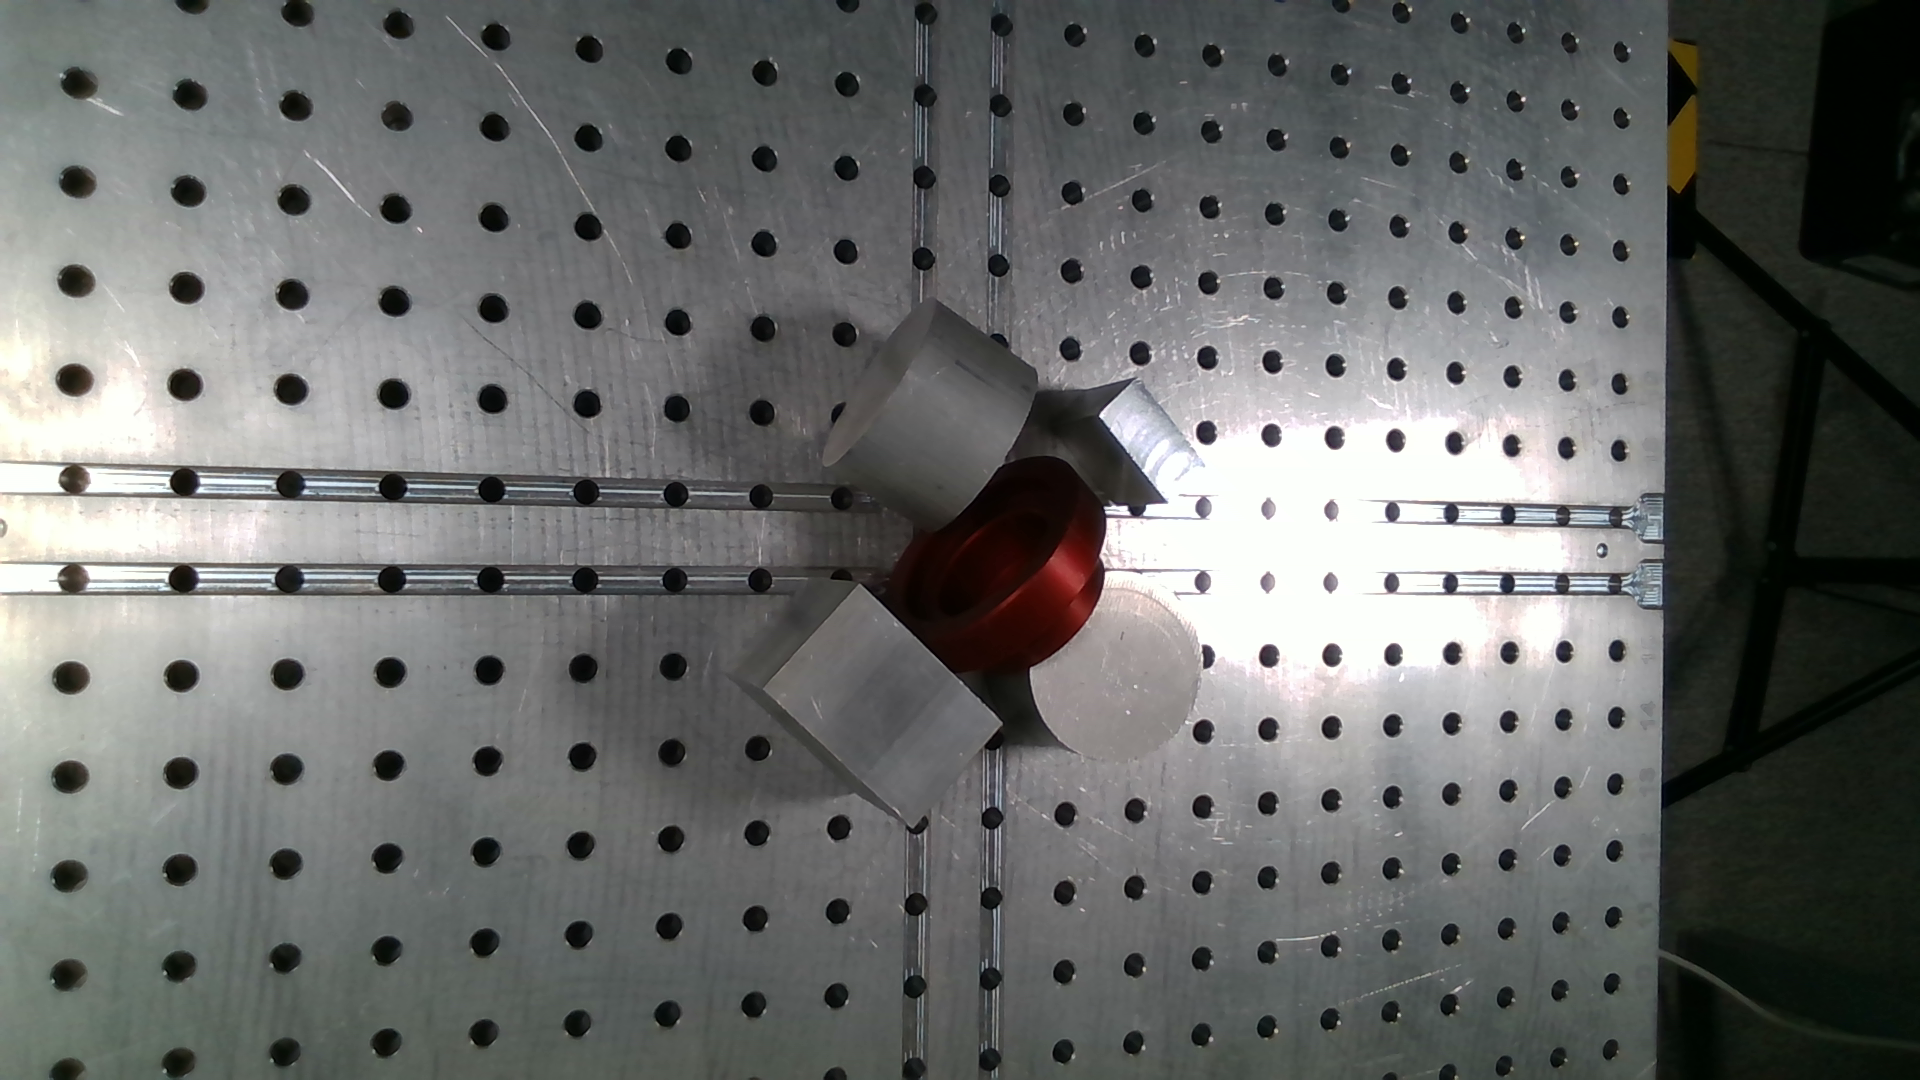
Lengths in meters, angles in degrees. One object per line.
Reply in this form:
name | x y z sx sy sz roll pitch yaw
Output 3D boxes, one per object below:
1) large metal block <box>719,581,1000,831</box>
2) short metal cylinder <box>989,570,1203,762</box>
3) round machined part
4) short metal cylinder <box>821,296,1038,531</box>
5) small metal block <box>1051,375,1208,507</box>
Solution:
large metal block | -0.042 0.063 0.544 0.080 0.080 0.050 45 76 -15
short metal cylinder | 0.057 0.052 0.596 0.080 0.050 0.080 0 90 -20
round machined part | 0.020 0.015 0.557 0.042 0.098 0.098 46 75 -27
short metal cylinder | -0.013 -0.050 0.554 0.050 0.080 0.080 33 79 -17
small metal block | 0.073 -0.042 0.602 0.025 0.050 0.050 -44 104 -15
